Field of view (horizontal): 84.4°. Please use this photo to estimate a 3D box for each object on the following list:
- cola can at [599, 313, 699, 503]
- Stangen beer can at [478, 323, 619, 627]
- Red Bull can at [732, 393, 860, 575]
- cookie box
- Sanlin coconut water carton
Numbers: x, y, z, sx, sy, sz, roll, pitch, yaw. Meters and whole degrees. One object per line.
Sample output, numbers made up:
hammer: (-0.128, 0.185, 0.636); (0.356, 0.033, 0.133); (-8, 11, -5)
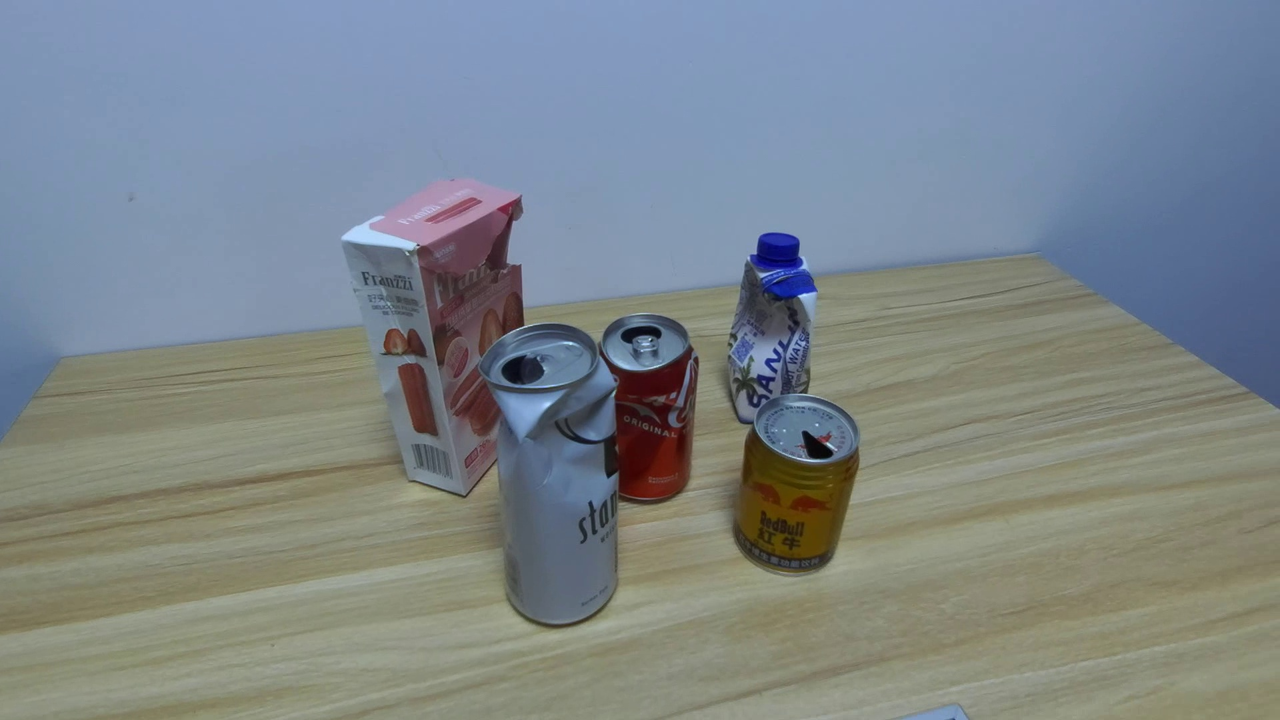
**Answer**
cola can: (0.006, 0.031, 0.462); (0.072, 0.117, 0.065); (22, 39, 27)
Stangen beer can: (-0.046, 0.065, 0.372); (0.066, 0.166, 0.065); (-27, 42, -32)
Red Bull can: (0.093, 0.074, 0.422); (0.067, 0.093, 0.067); (2, 35, -1)
cookie box: (-0.121, -0.011, 0.461); (0.059, 0.186, 0.105); (16, 36, 18)
Sanlin coconut water carton: (0.094, -0.016, 0.511); (0.057, 0.145, 0.068); (-6, 42, 2)
